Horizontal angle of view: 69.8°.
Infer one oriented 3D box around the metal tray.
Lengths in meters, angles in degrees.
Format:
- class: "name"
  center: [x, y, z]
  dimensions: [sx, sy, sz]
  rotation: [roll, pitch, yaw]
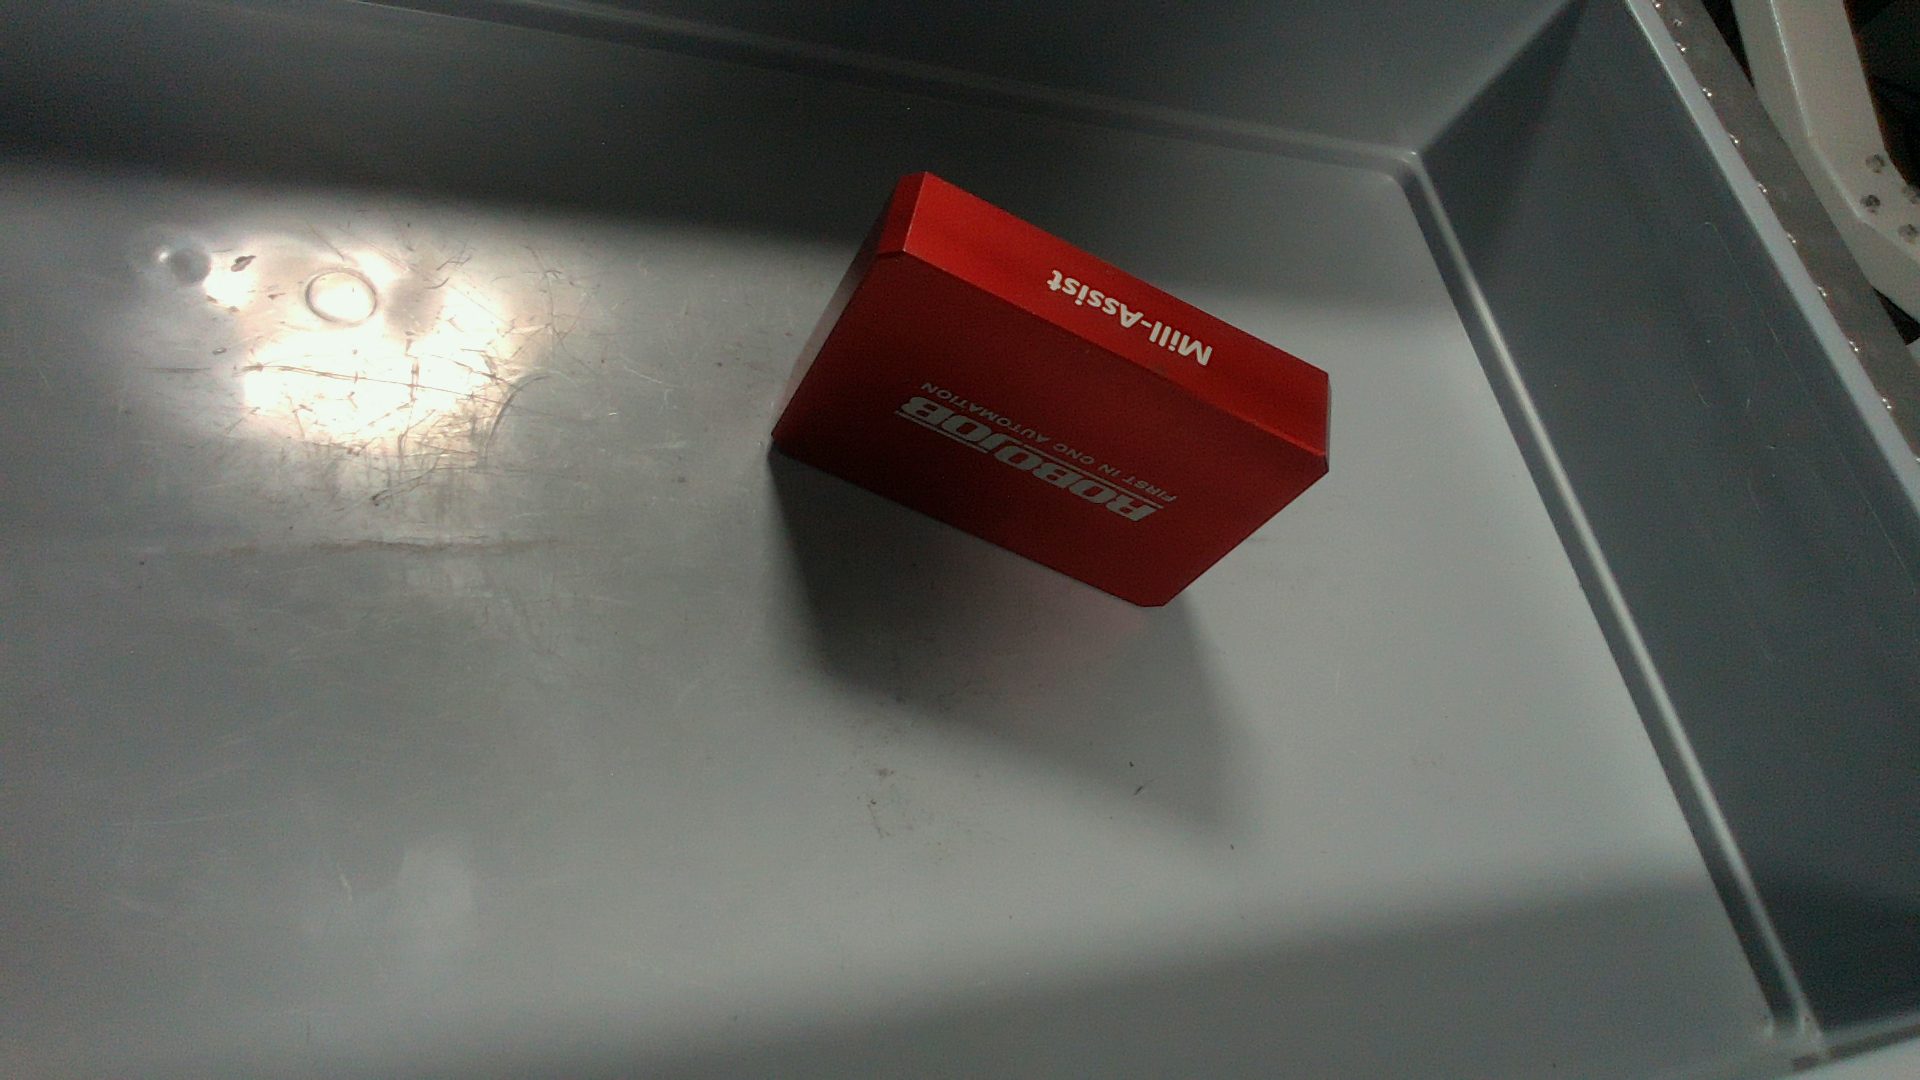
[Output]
- class: "metal tray"
  center: [0.024, -0.035, 0.379]
  dimensions: [0.130, 0.090, 0.030]
  rotation: [23, 53, -15]
